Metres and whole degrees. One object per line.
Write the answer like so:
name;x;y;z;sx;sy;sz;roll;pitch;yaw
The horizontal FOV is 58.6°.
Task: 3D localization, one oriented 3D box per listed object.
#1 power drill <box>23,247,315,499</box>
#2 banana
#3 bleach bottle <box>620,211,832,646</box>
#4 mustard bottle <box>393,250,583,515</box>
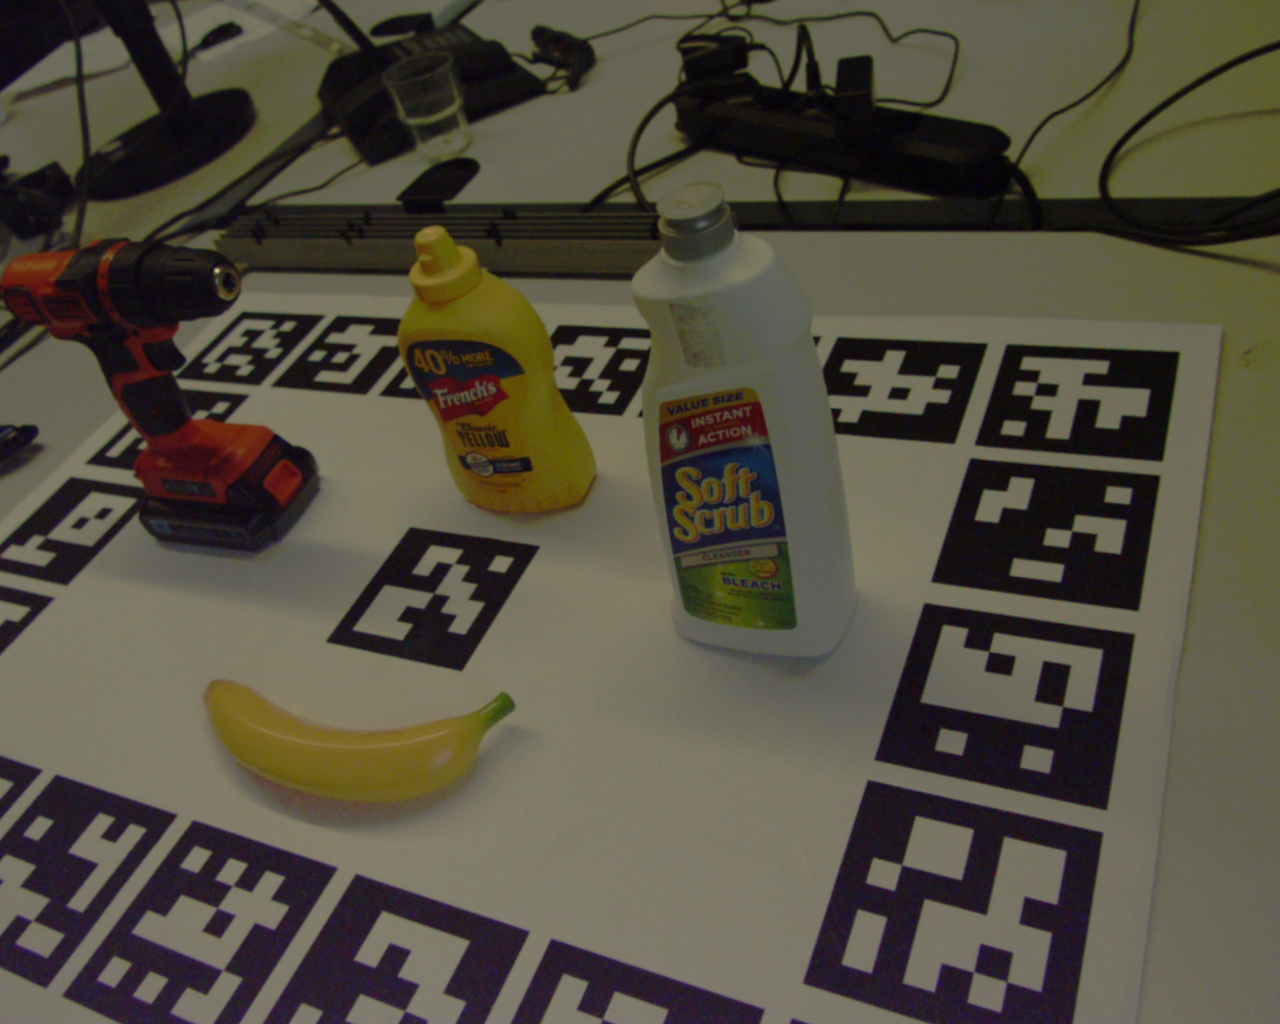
power drill;-0.299;-0.092;0.767;0.186;0.185;0.057;0;45;25
banana;-0.173;0.113;0.647;0.199;0.038;0.074;1;48;25
bleach bottle;0.035;-0.038;0.584;0.104;0.249;0.067;15;51;31
mustard bottle;-0.105;-0.082;0.730;0.097;0.190;0.058;2;46;19
